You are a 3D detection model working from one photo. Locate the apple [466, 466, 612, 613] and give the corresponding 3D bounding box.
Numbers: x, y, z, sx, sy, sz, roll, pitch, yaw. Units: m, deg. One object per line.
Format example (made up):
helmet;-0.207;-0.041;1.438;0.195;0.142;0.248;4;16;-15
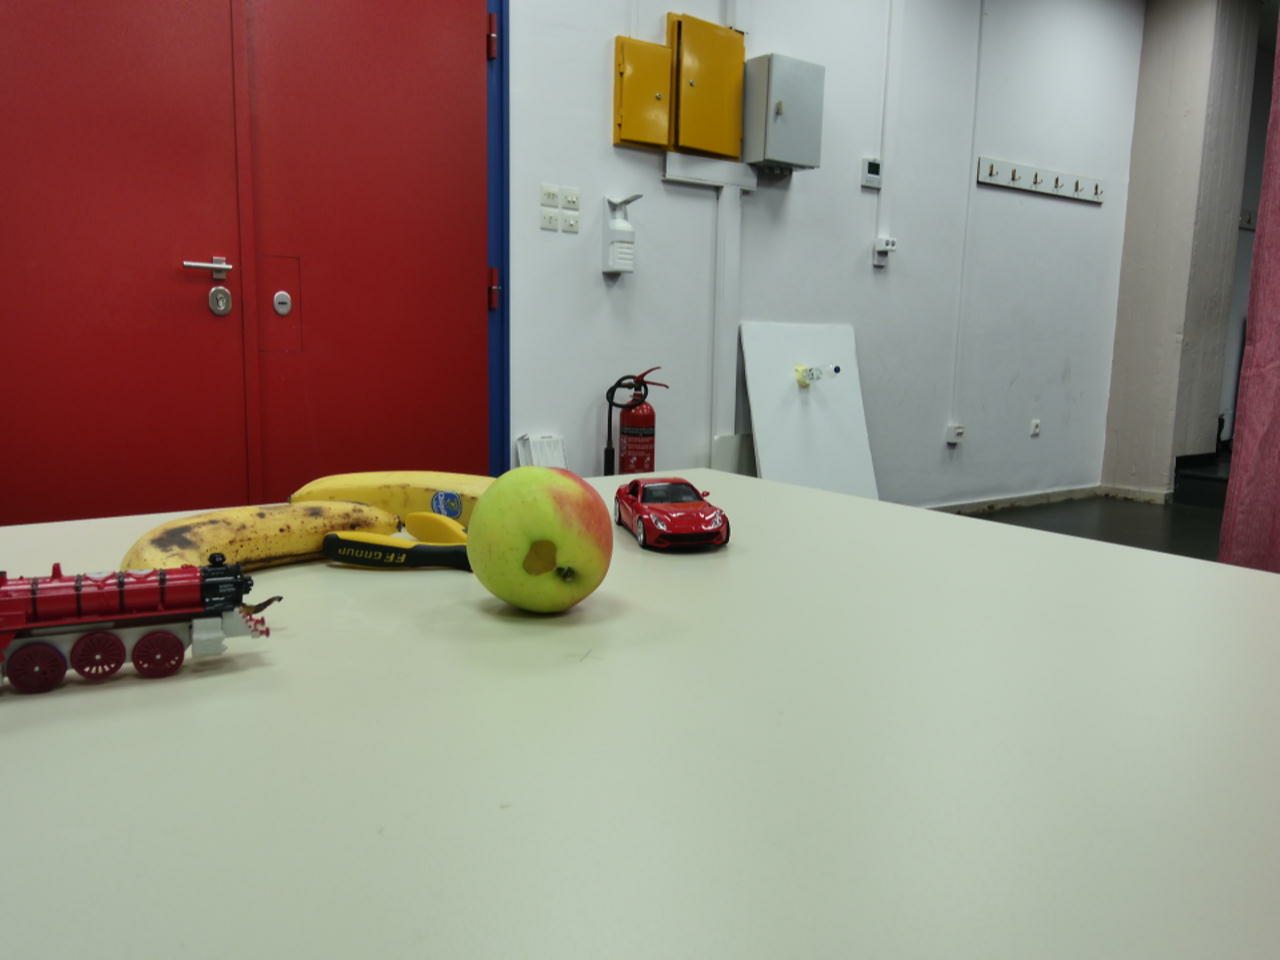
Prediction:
apple;-0.050;0.030;0.518;0.075;0.074;0.075;5;8;33
